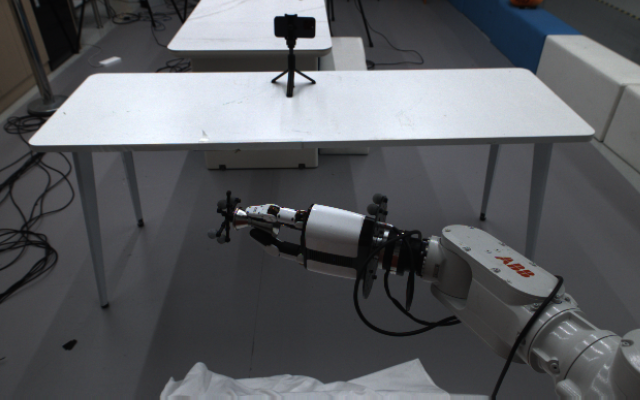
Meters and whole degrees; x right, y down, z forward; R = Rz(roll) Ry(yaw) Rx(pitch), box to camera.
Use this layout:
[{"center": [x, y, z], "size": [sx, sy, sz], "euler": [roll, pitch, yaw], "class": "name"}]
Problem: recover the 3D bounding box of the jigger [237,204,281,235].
[{"center": [-0.096, 0.030, 0.784], "size": [0.071, 0.043, 0.043], "euler": [8, 35, 12], "class": "jigger"}]
